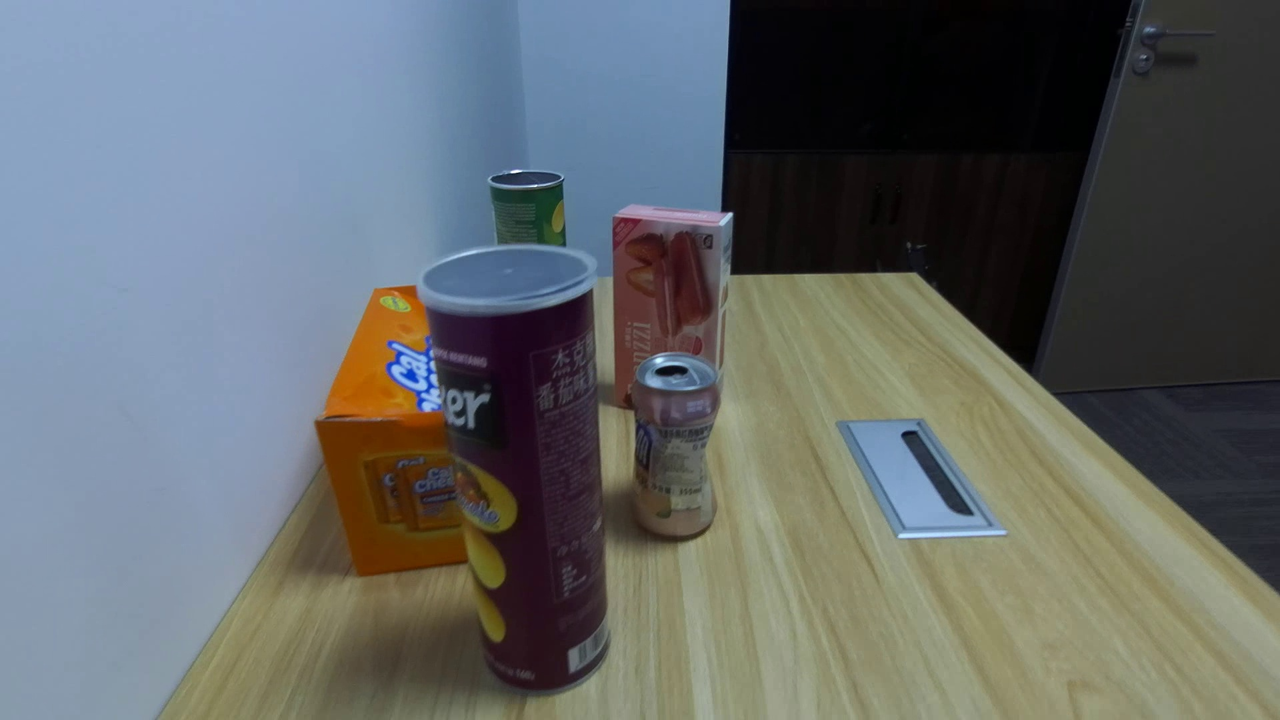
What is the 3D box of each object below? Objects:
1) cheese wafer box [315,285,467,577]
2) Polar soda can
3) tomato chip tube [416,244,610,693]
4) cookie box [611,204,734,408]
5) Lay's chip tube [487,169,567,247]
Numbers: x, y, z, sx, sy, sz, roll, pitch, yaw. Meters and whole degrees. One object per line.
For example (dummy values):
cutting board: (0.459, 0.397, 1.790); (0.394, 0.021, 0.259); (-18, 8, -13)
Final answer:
cheese wafer box: (-0.138, 0.040, 0.548); (0.152, 0.132, 0.230); (-4, 26, -10)
Polar soda can: (0.026, 0.061, 0.504); (0.067, 0.122, 0.074); (17, 32, 31)
tomato chip tube: (-0.056, 0.066, 0.370); (0.078, 0.234, 0.078); (-1, 26, 1)
cookie box: (0.029, -0.040, 0.632); (0.096, 0.185, 0.048); (7, 24, 17)
Lay's chip tube: (-0.104, -0.081, 0.695); (0.071, 0.202, 0.071); (0, 27, 0)
